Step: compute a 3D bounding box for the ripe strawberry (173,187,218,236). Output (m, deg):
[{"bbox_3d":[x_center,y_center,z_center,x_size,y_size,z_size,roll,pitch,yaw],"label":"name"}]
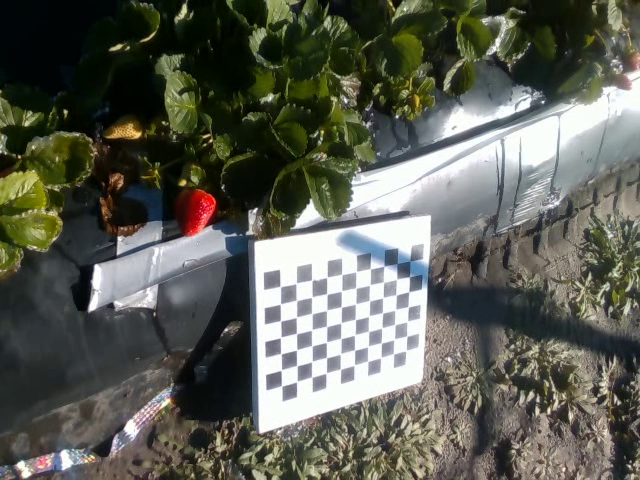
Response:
[{"bbox_3d":[-0.154,-0.027,0.765,0.057,0.065,0.061,-32,-45,33],"label":"ripe strawberry"}]
